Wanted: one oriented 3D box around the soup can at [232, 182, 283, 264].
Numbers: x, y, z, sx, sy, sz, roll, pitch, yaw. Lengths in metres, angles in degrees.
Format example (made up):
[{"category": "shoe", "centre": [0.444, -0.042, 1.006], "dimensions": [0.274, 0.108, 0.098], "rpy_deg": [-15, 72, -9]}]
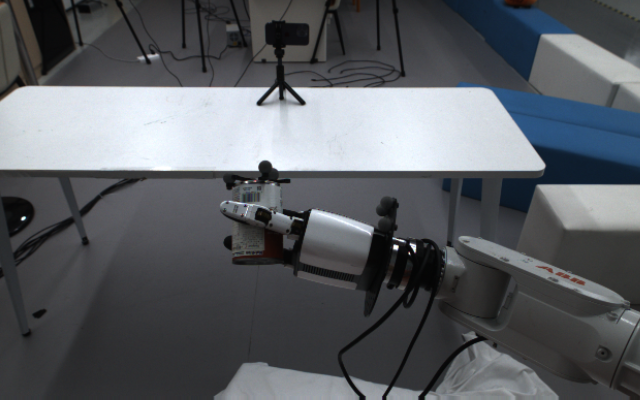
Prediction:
[{"category": "soup can", "centre": [-0.080, 0.031, 0.631], "dimensions": [0.067, 0.067, 0.101], "rpy_deg": [-1, 77, -5]}]
